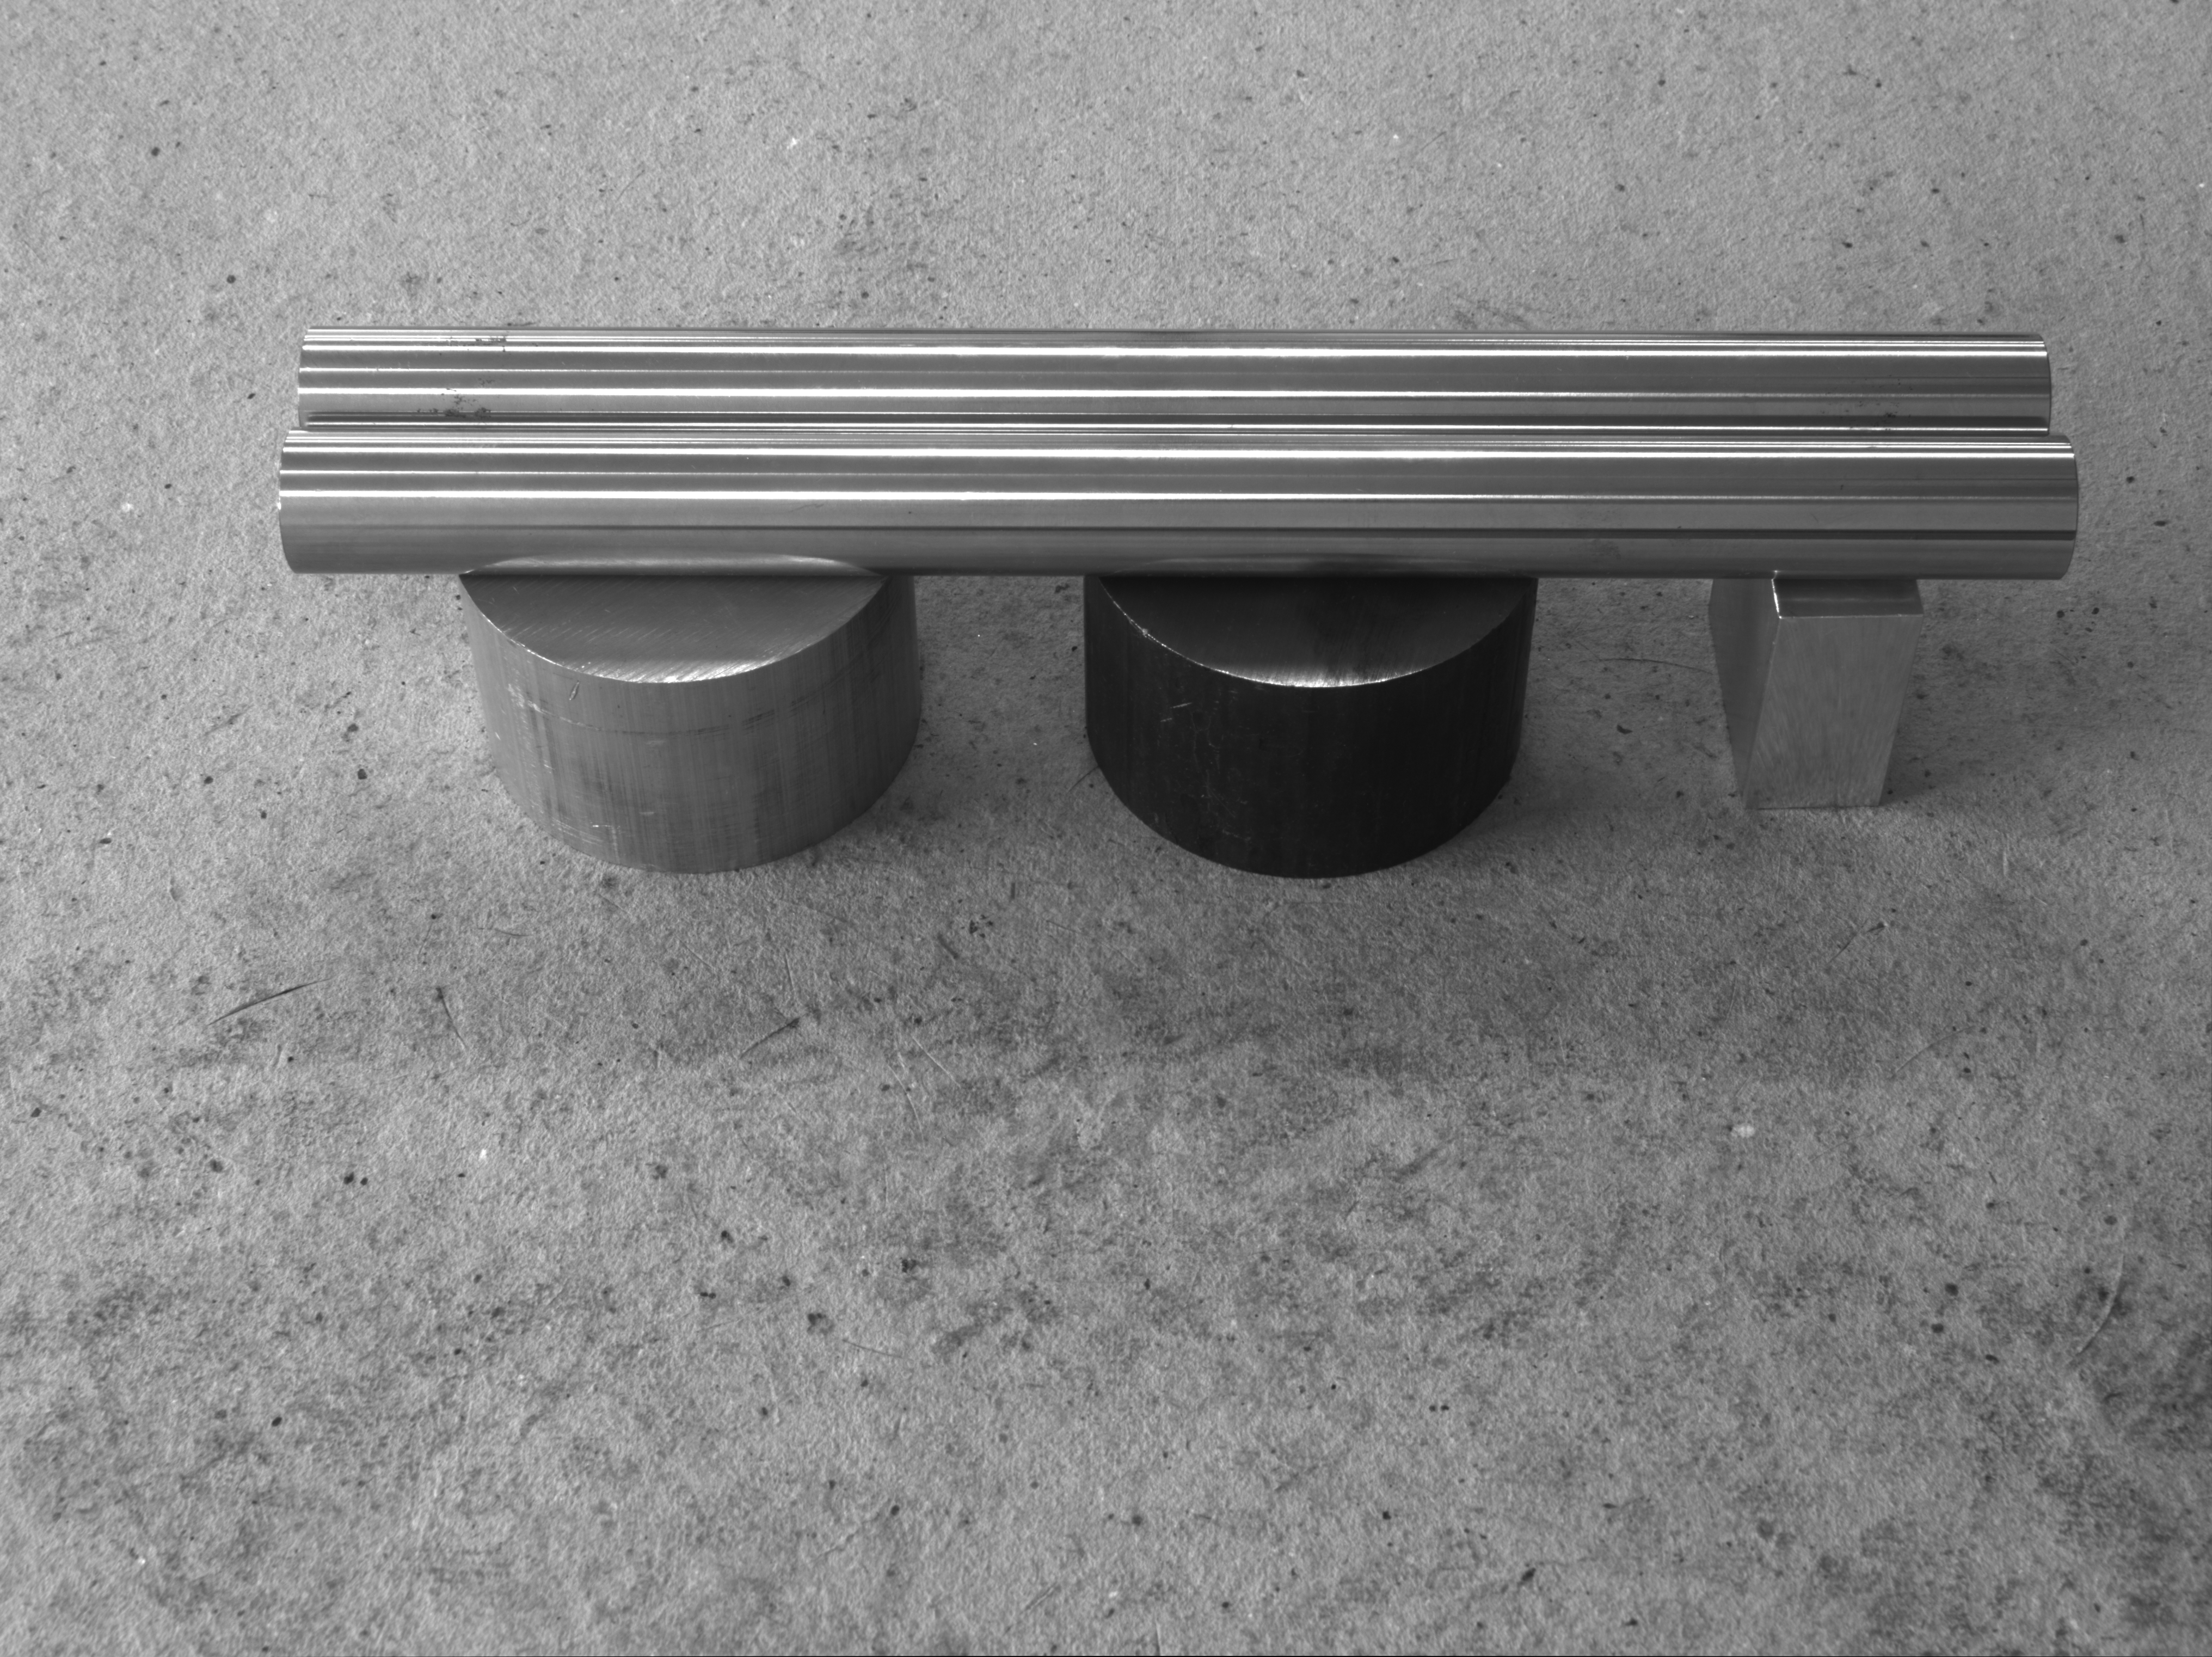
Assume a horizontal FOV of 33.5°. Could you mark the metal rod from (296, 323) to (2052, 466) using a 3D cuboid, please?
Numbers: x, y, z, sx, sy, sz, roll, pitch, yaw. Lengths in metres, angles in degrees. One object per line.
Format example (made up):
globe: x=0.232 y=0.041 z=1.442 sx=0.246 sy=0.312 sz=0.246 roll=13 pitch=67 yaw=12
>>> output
metal rod: x=0.012 y=-0.075 z=0.640 sx=0.300 sy=0.025 sz=0.025 roll=0 pitch=50 yaw=0

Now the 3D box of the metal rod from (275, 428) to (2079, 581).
metal rod: x=0.012 y=-0.055 z=0.623 sx=0.300 sy=0.025 sz=0.025 roll=0 pitch=50 yaw=0

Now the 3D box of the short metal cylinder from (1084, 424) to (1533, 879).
short metal cylinder: x=0.036 y=-0.038 z=0.659 sx=0.080 sy=0.050 sz=0.080 roll=0 pitch=50 yaw=0

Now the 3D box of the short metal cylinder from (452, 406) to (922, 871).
short metal cylinder: x=-0.074 y=-0.039 z=0.659 sx=0.080 sy=0.050 sz=0.080 roll=0 pitch=50 yaw=0

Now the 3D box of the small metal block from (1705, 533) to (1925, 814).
small metal block: x=0.126 y=-0.038 z=0.660 sx=0.025 sy=0.050 sz=0.050 roll=-1 pitch=49 yaw=-1
